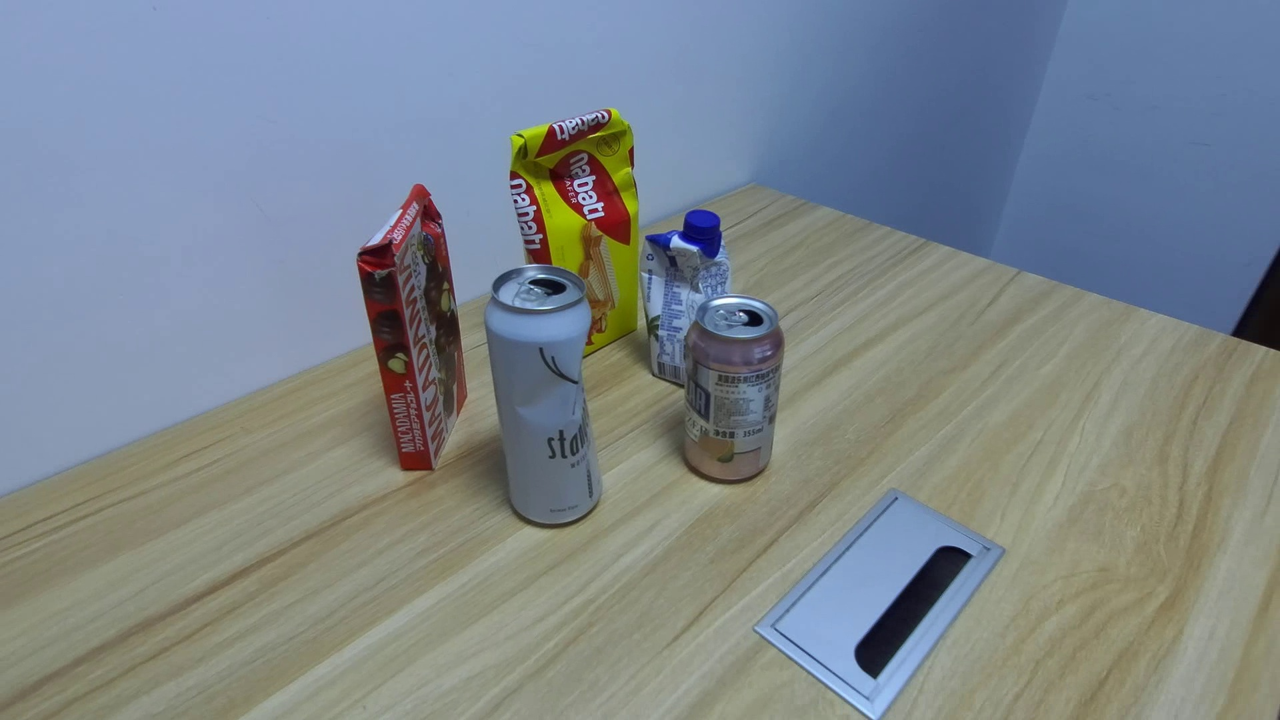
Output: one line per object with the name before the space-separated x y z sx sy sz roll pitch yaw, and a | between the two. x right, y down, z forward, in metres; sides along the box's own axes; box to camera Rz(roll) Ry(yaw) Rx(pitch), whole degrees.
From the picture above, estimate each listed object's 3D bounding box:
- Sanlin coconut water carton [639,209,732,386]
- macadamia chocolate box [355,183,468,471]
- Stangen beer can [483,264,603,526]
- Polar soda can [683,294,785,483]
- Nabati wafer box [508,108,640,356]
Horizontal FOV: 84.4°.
Sanlin coconut water carton | 0.039 -0.054 0.588 0.068 0.145 0.057 12 29 31
macadamia chocolate box | -0.158 -0.022 0.512 0.027 0.187 0.102 4 36 2
Stangen beer can | -0.058 0.025 0.453 0.069 0.173 0.070 24 41 31
Polar soda can | 0.064 0.021 0.496 0.067 0.126 0.067 -1 33 1
Nabati wafer box | -0.049 -0.102 0.608 0.113 0.205 0.042 -30 42 -32
